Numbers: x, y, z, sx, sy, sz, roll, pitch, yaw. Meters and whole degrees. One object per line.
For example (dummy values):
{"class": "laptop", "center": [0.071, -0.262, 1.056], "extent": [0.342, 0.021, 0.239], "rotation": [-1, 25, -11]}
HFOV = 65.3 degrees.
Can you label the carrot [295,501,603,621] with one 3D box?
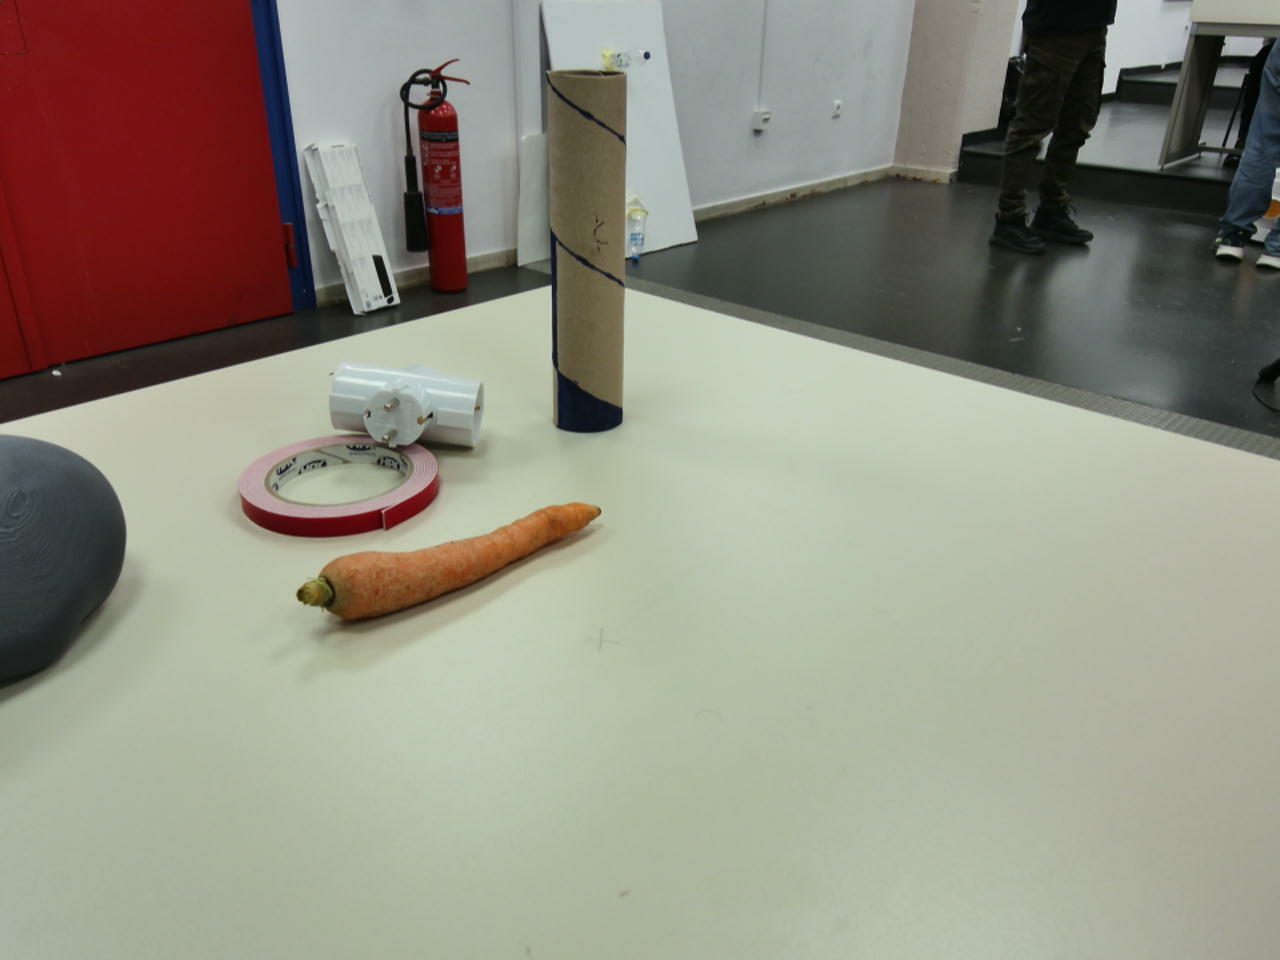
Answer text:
{"class": "carrot", "center": [-0.085, 0.035, 0.490], "extent": [0.173, 0.032, 0.030], "rotation": [-19, 31, -36]}
